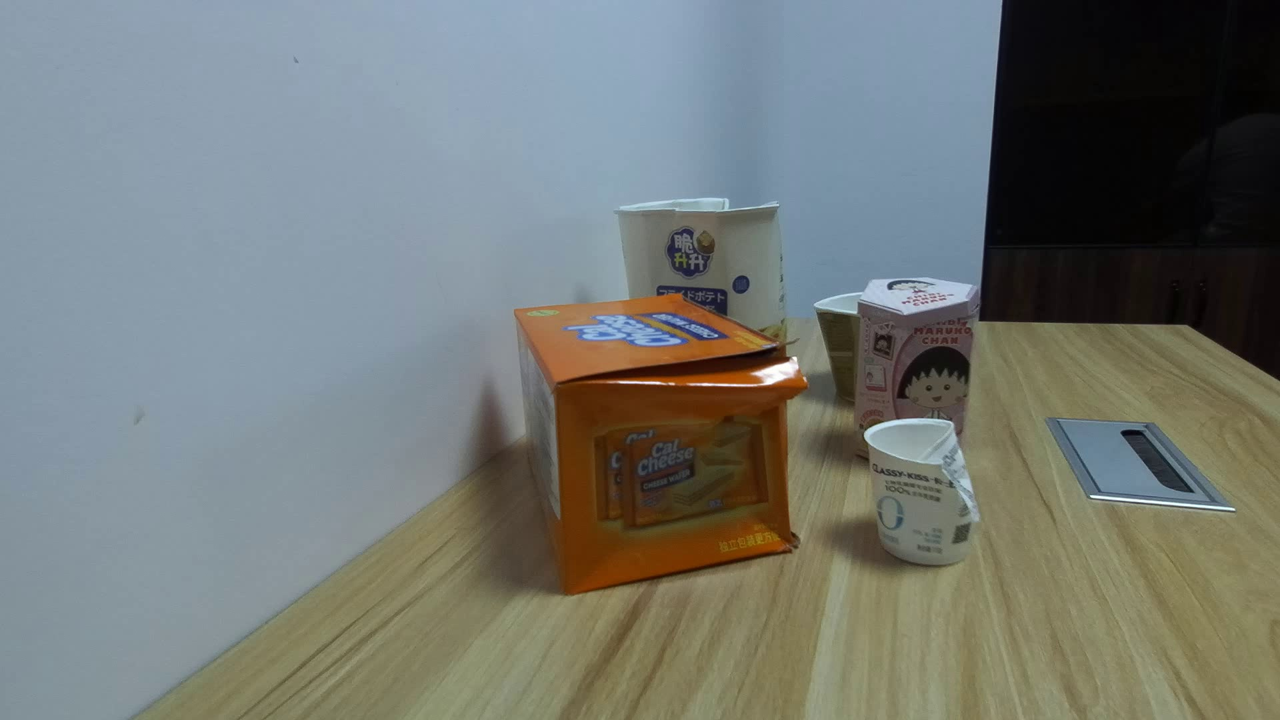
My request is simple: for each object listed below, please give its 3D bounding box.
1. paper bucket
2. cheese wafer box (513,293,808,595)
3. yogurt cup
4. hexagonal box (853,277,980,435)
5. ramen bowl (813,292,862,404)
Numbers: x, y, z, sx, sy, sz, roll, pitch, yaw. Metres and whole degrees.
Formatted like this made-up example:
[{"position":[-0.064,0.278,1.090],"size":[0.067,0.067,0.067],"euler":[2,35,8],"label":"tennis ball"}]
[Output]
[{"position":[0.081,-0.058,0.709],"size":[0.170,0.202,0.162],"euler":[-16,22,-32],"label":"paper bucket"},{"position":[0.000,0.036,0.494],"size":[0.150,0.137,0.226],"euler":[-6,15,-14],"label":"cheese wafer box"},{"position":[0.167,0.079,0.423],"size":[0.067,0.070,0.067],"euler":[-4,18,2],"label":"yogurt cup"},{"position":[0.211,0.010,0.547],"size":[0.092,0.135,0.085],"euler":[-2,16,1],"label":"hexagonal box"},{"position":[0.253,-0.013,0.732],"size":[0.137,0.098,0.137],"euler":[-1,15,1],"label":"ramen bowl"}]
